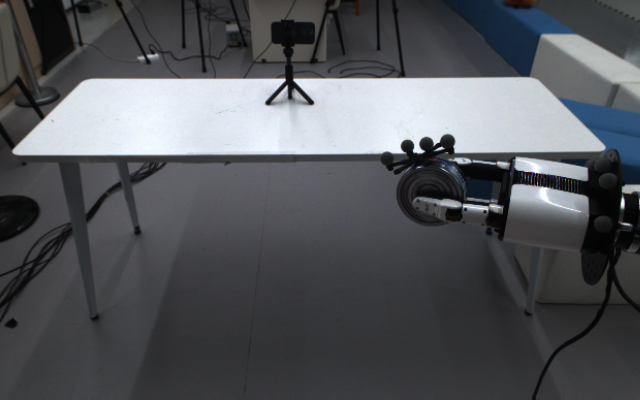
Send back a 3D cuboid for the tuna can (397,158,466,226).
[{"bbox_3d":[0.146,-0.004,0.615,0.085,0.085,0.034,15,30,17],"label":"tuna can"}]
